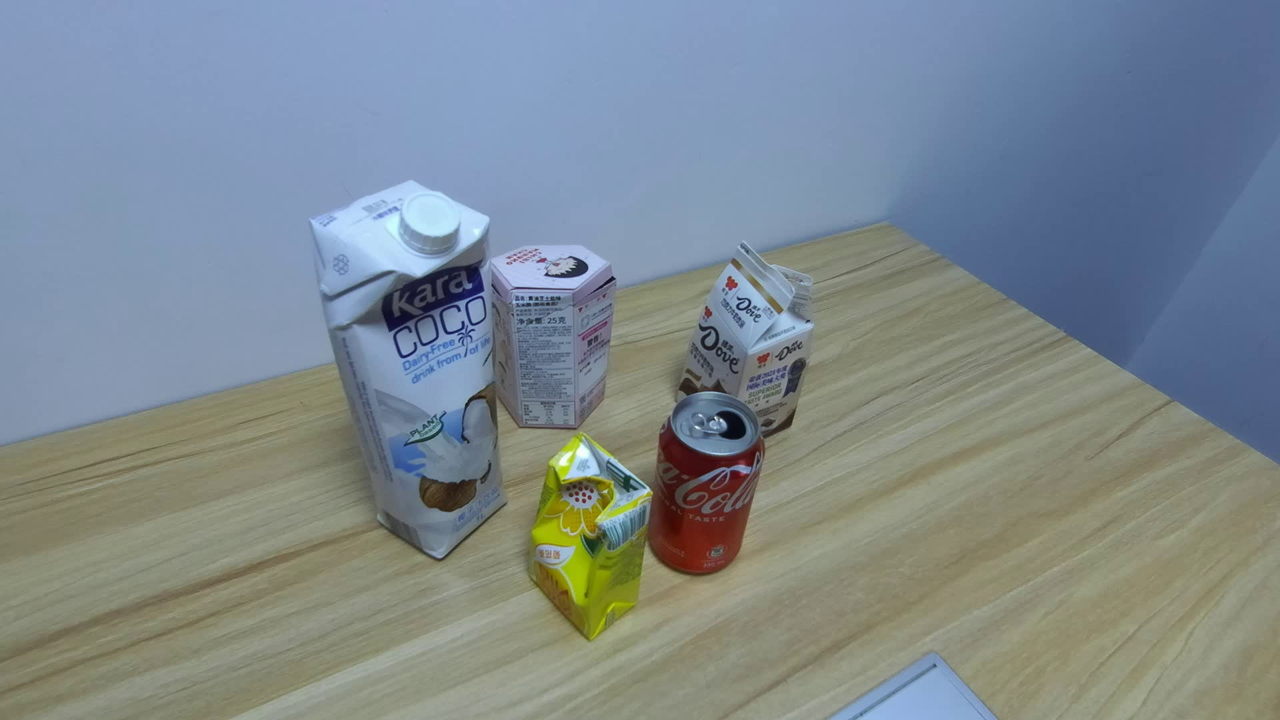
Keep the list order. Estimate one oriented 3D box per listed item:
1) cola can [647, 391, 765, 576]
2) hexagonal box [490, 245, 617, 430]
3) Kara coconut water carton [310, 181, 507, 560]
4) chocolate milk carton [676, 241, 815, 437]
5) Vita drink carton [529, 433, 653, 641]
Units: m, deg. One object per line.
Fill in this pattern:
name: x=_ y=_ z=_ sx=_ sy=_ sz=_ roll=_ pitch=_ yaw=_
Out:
cola can: x=0.043 y=0.081 z=0.462 sx=0.068 sy=0.120 sz=0.067 roll=3 pitch=40 yaw=-2
hexagonal box: x=-0.070 y=-0.019 z=0.561 sx=0.085 sy=0.135 sz=0.092 roll=23 pitch=43 yaw=21
Kara coconut water carton: x=-0.130 y=0.009 z=0.434 sx=0.071 sy=0.244 sz=0.100 roll=25 pitch=44 yaw=23
chocolate milk carton: x=0.084 y=-0.015 z=0.552 sx=0.073 sy=0.155 sz=0.084 roll=-19 pitch=44 yaw=-26
Vita drink carton: x=-0.034 y=0.109 z=0.431 sx=0.046 sy=0.110 sz=0.071 roll=-27 pitch=47 yaw=-36
